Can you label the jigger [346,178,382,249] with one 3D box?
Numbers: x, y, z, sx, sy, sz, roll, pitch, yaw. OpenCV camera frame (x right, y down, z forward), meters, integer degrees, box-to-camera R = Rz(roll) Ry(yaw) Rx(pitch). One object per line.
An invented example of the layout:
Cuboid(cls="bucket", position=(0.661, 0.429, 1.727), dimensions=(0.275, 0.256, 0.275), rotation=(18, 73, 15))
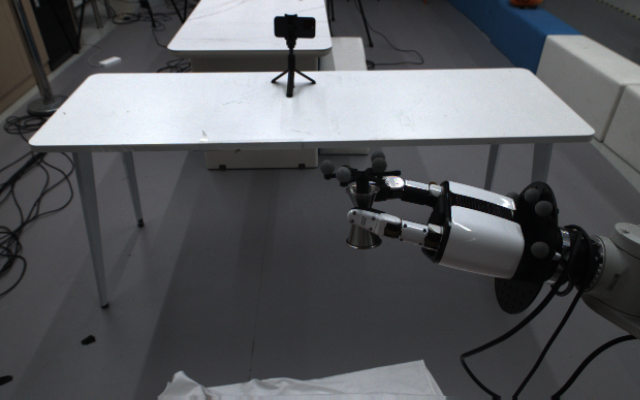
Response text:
Cuboid(cls="jigger", position=(0.052, 0.019, 0.577), dimensions=(0.043, 0.071, 0.043), rotation=(-2, 19, 1))
